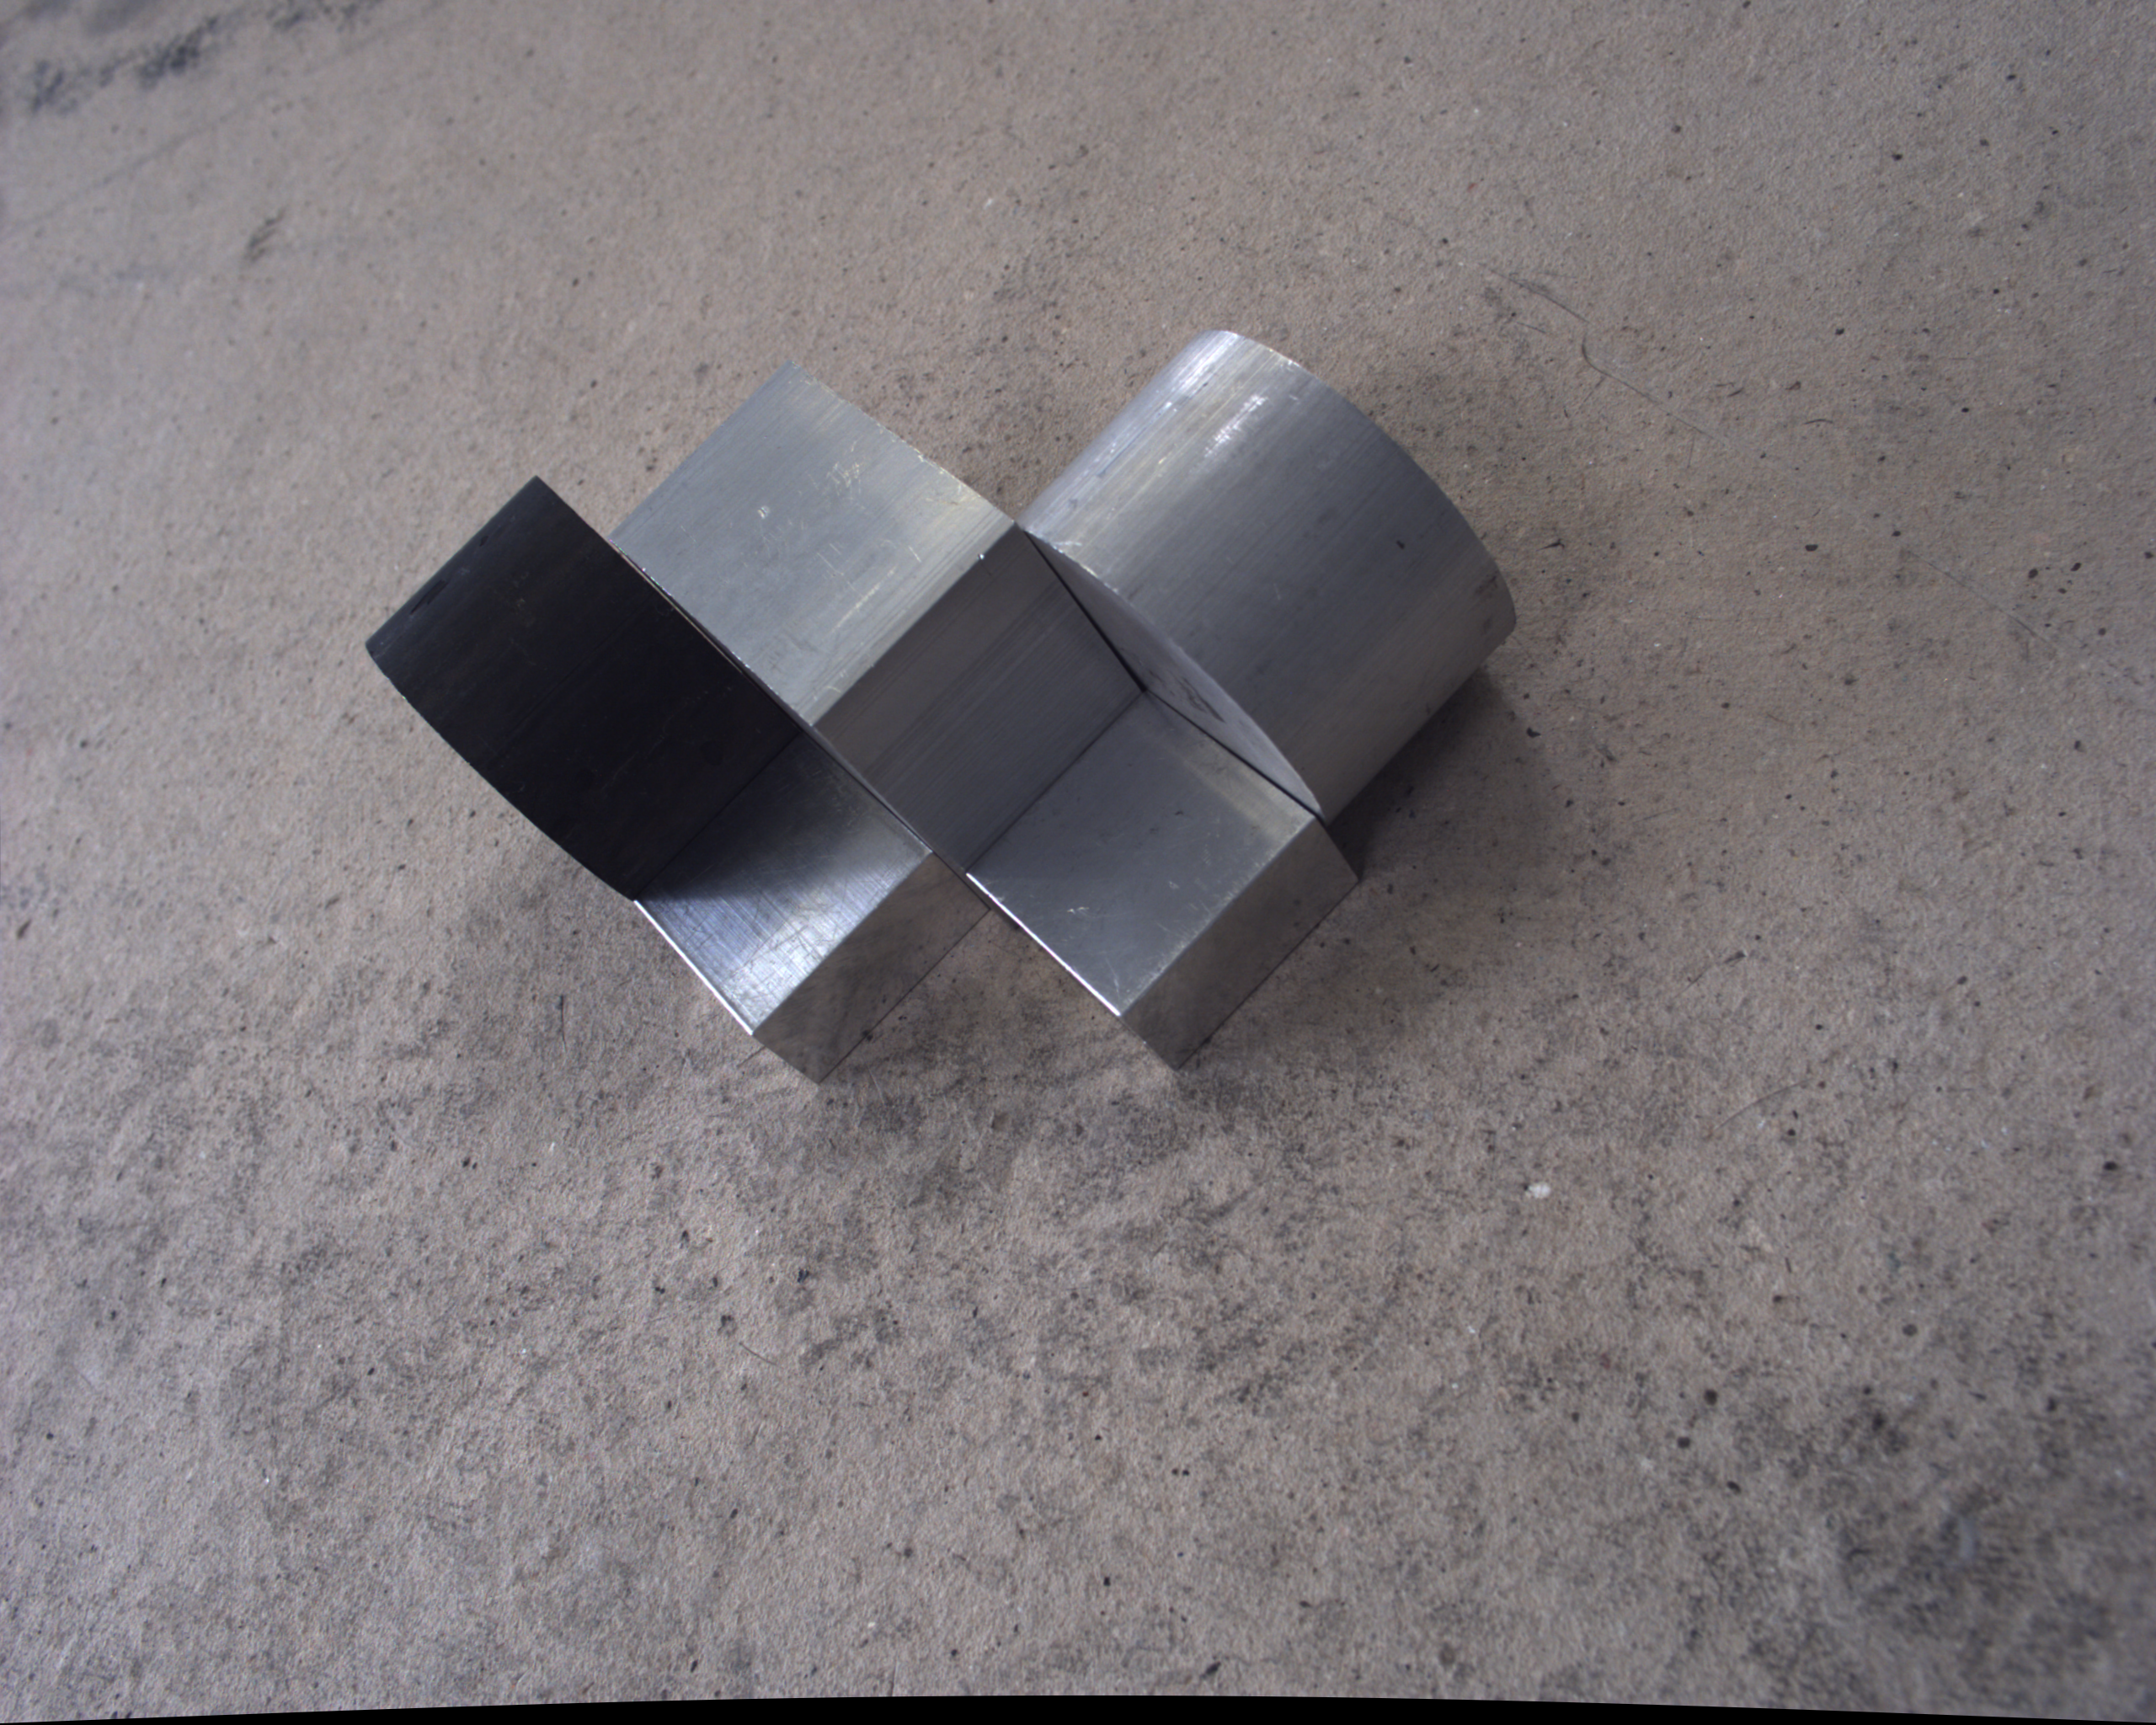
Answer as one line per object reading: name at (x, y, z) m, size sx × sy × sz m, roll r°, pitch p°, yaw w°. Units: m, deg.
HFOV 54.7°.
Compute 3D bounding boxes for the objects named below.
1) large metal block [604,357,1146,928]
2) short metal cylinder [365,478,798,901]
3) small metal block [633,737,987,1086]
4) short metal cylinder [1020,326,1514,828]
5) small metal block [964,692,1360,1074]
large metal block at (-0.035, -0.043, 0.415) m, size 0.050 × 0.080 × 0.080 m, roll -46°, pitch 52°, yaw -4°
short metal cylinder at (-0.103, -0.036, 0.446) m, size 0.050 × 0.080 × 0.080 m, roll -46°, pitch 51°, yaw -4°
small metal block at (-0.055, 0.009, 0.430) m, size 0.050 × 0.025 × 0.050 m, roll -46°, pitch 51°, yaw -4°
short metal cylinder at (0.033, -0.051, 0.385) m, size 0.050 × 0.080 × 0.080 m, roll -46°, pitch 51°, yaw -4°
small metal block at (0.016, 0.003, 0.396) m, size 0.050 × 0.025 × 0.050 m, roll -46°, pitch 51°, yaw -4°
